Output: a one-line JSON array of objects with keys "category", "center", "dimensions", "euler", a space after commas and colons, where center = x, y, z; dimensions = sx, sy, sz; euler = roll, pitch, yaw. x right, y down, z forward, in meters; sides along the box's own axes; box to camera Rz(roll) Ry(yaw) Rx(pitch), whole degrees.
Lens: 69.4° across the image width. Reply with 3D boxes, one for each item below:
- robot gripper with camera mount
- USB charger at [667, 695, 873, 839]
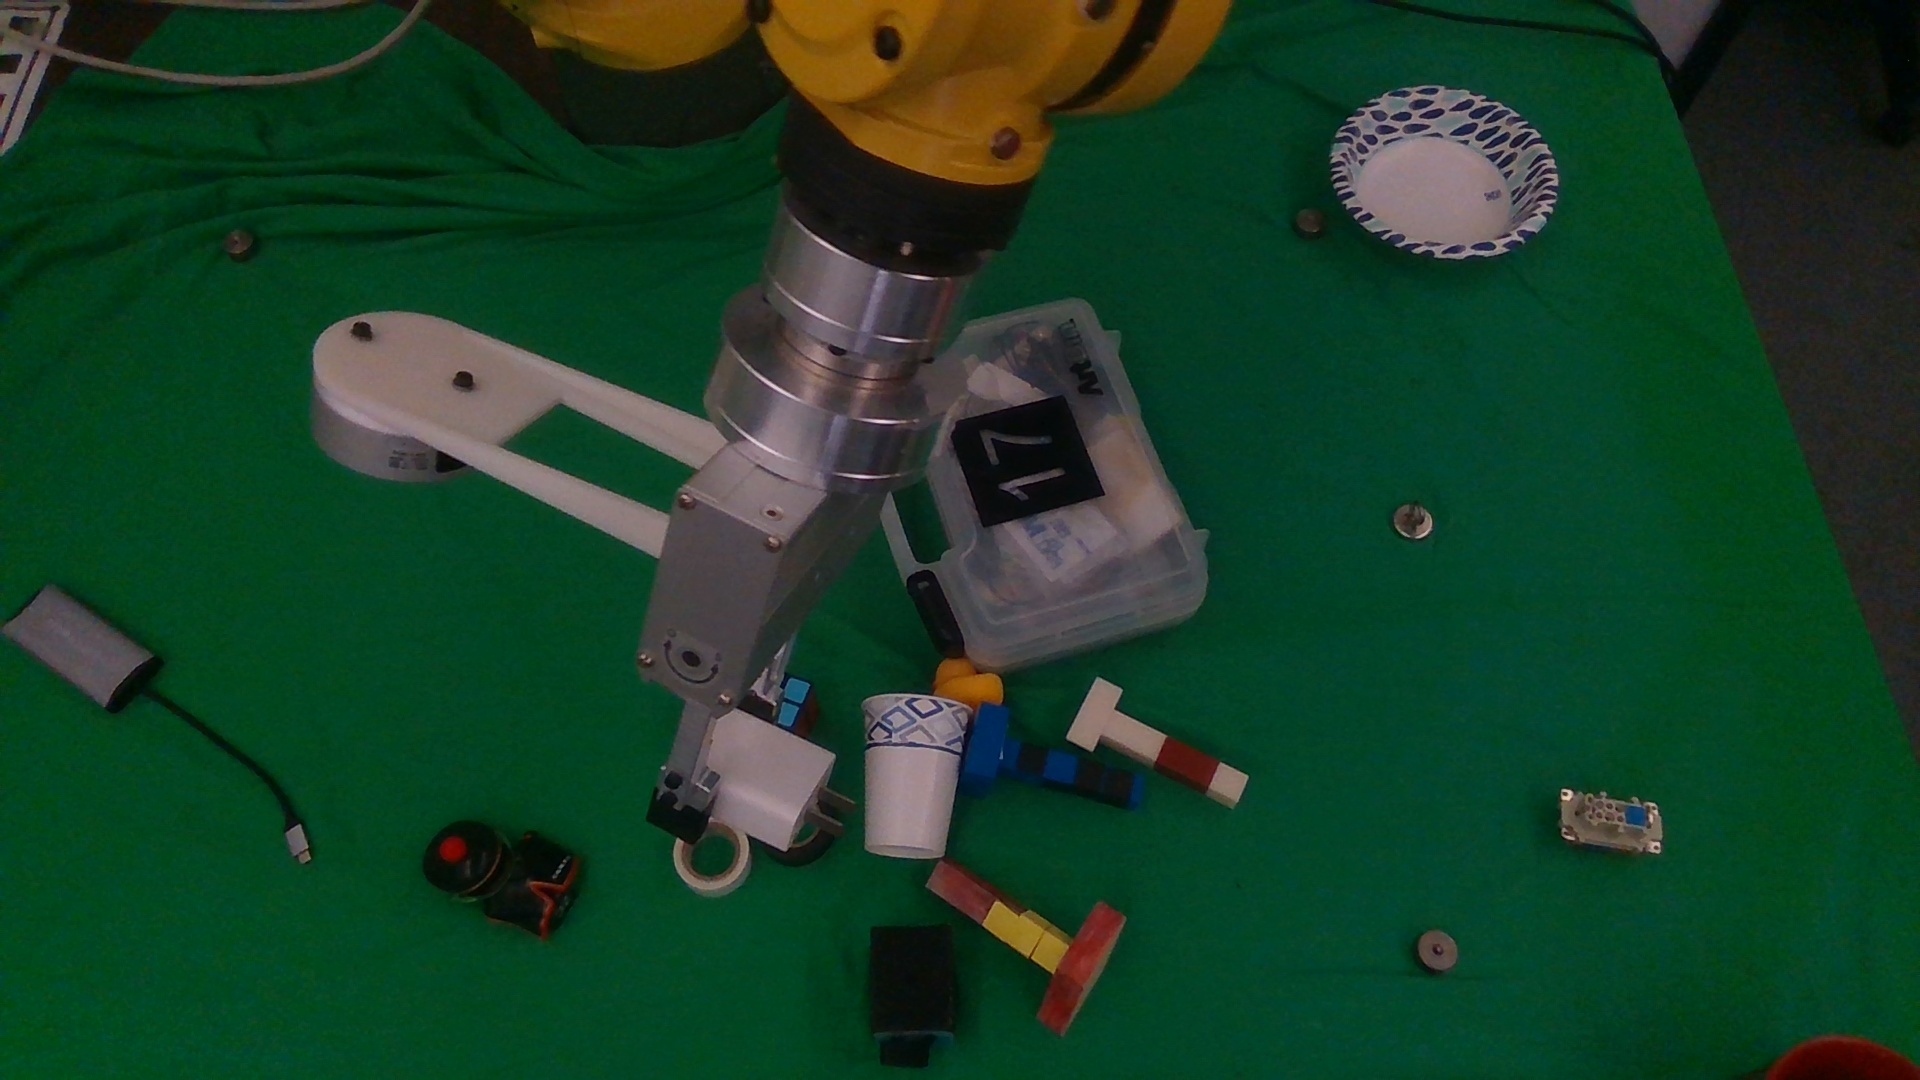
[{"category": "robot gripper with camera mount", "center": [-0.147, 0.000, 0.487], "dimensions": [0.193, 0.159, 0.119], "euler": [25, 38, 4]}, {"category": "USB charger", "center": [-0.071, 0.088, 0.531], "dimensions": [0.075, 0.029, 0.044], "euler": [24, 37, 4]}]
